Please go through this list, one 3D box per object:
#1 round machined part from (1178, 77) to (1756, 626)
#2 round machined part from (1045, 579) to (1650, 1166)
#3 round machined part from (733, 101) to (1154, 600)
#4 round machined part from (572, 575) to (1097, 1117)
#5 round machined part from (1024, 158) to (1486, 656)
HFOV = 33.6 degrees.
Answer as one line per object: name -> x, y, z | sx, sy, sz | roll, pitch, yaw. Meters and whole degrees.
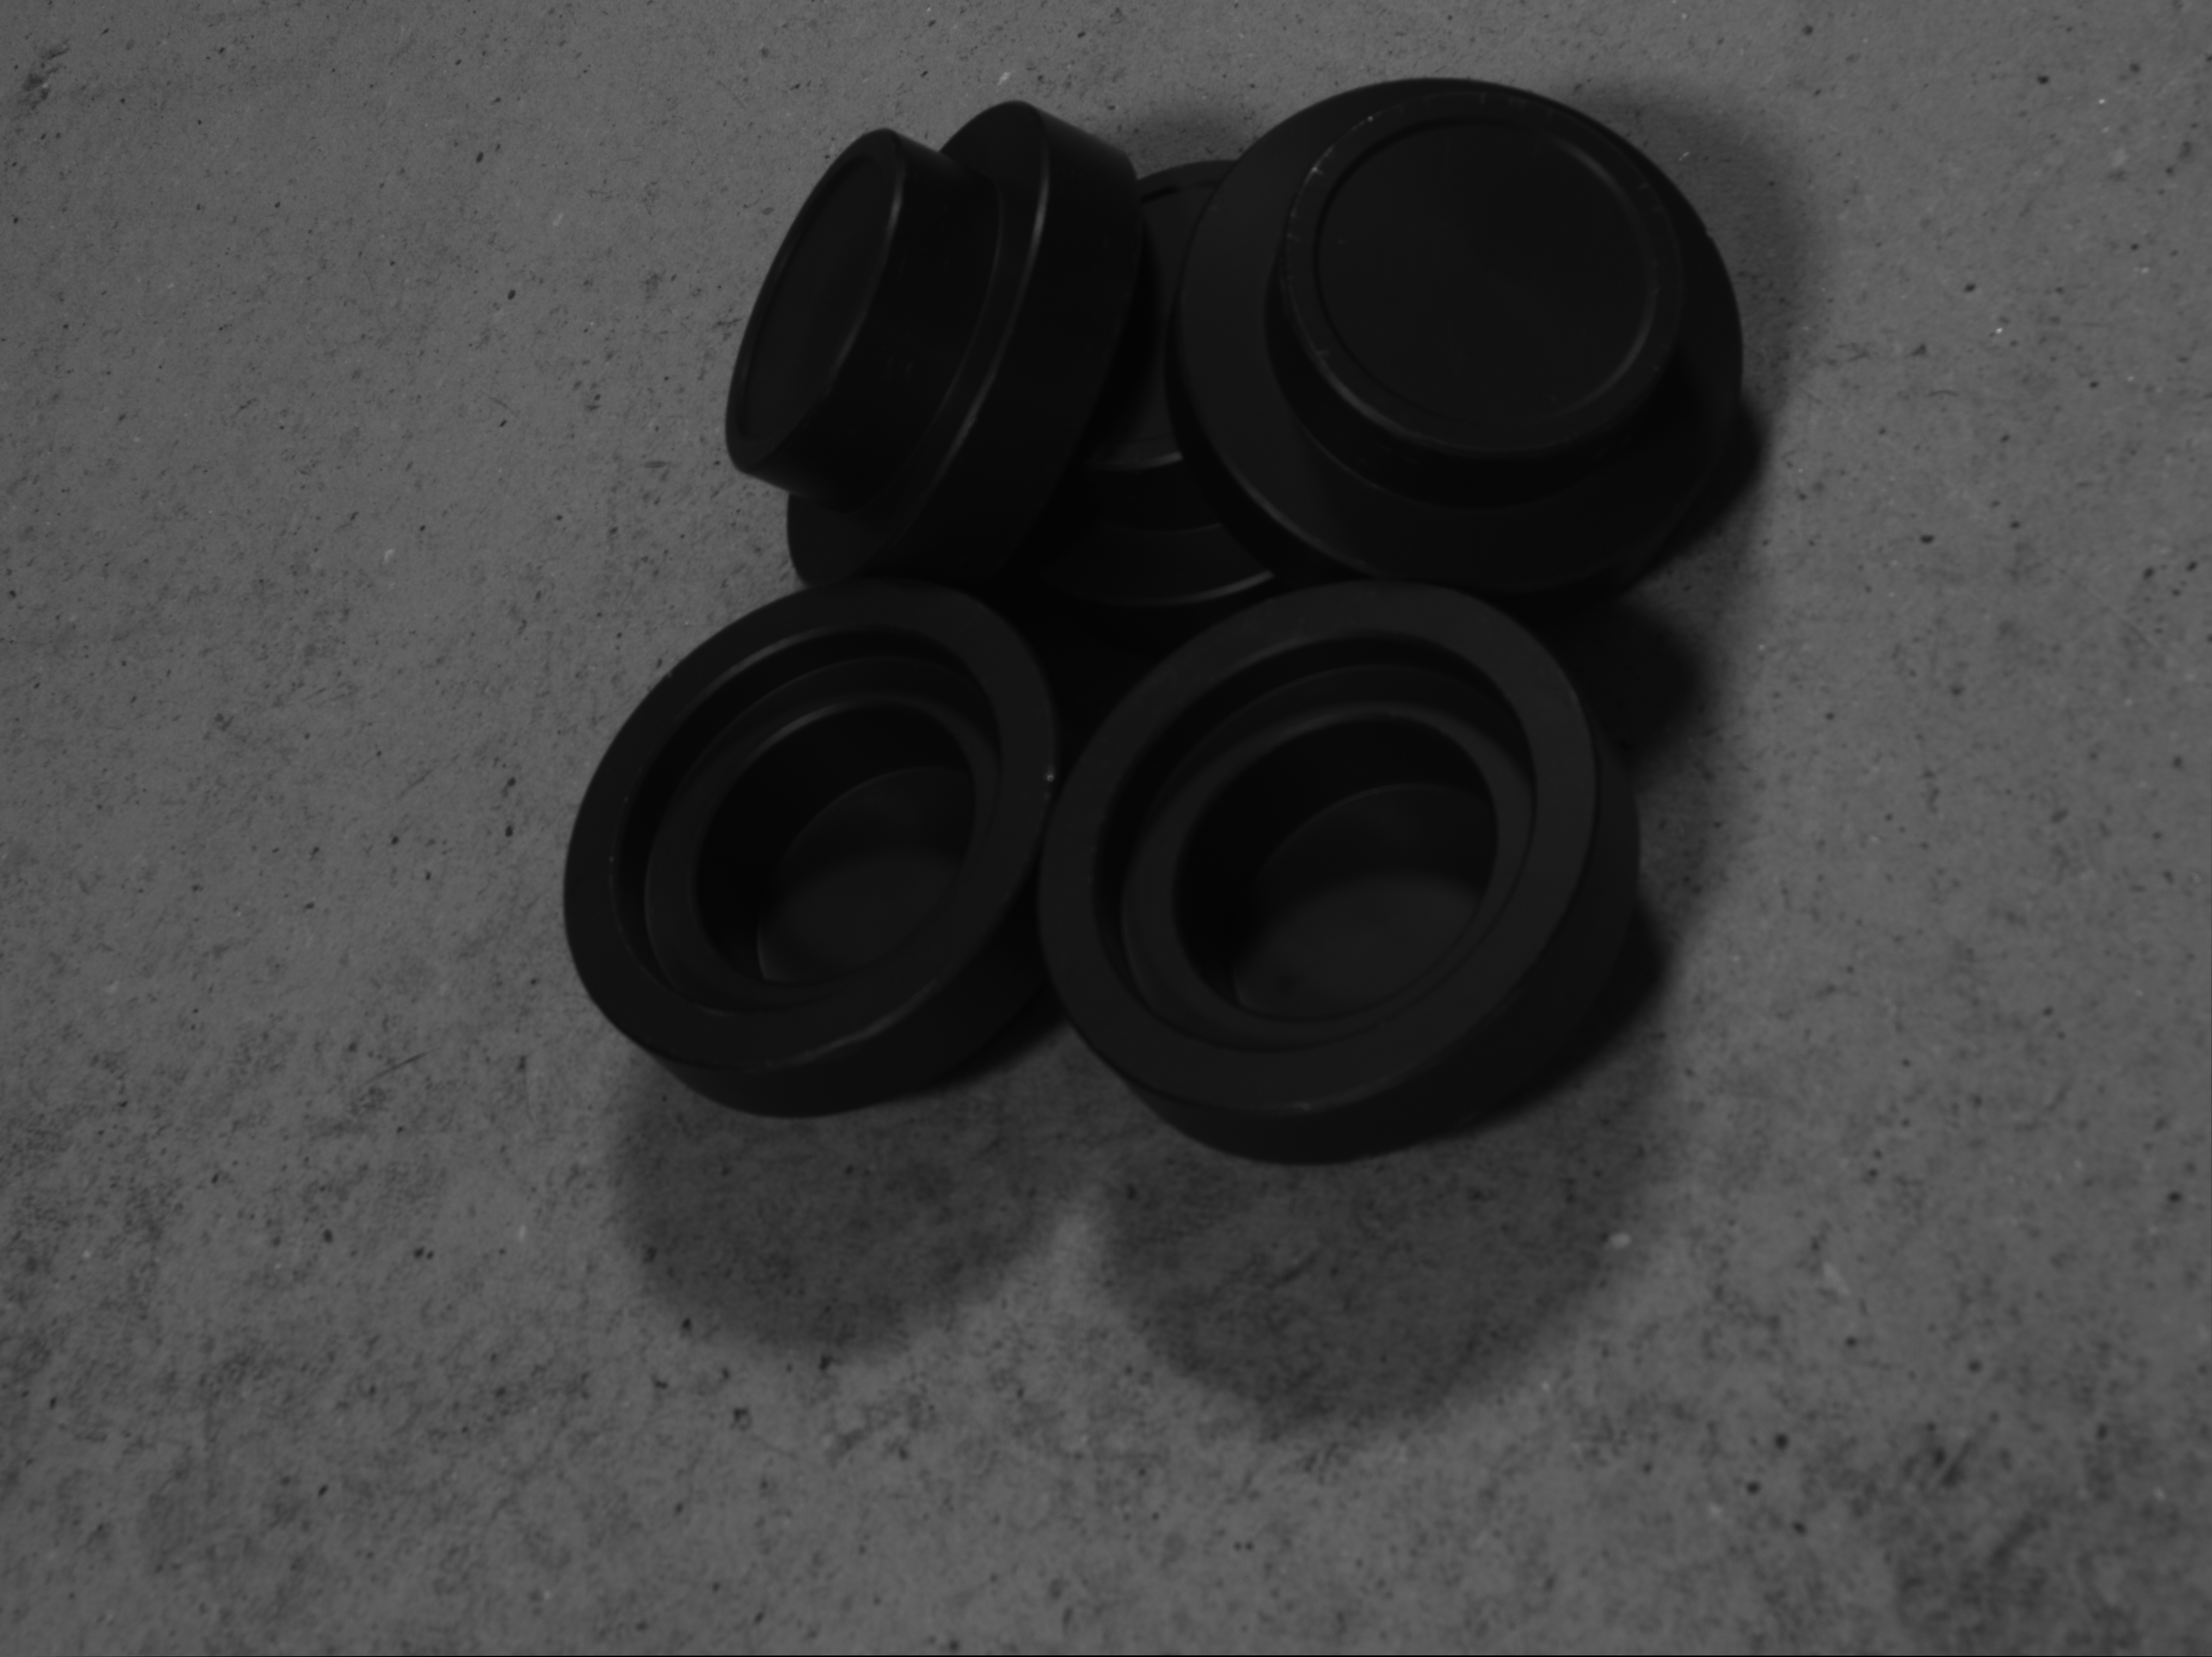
round machined part -> 0.063, -0.086, 0.624 | 0.098, 0.042, 0.098 | 2, 71, -4
round machined part -> 0.043, 0.011, 0.604 | 0.098, 0.042, 0.098 | -13, 56, 21
round machined part -> -0.035, -0.090, 0.677 | 0.098, 0.042, 0.098 | -46, 32, 40
round machined part -> -0.042, 0.007, 0.652 | 0.098, 0.042, 0.098 | -13, 56, 21
round machined part -> 0.021, -0.084, 0.673 | 0.098, 0.042, 0.098 | -13, 56, 21
